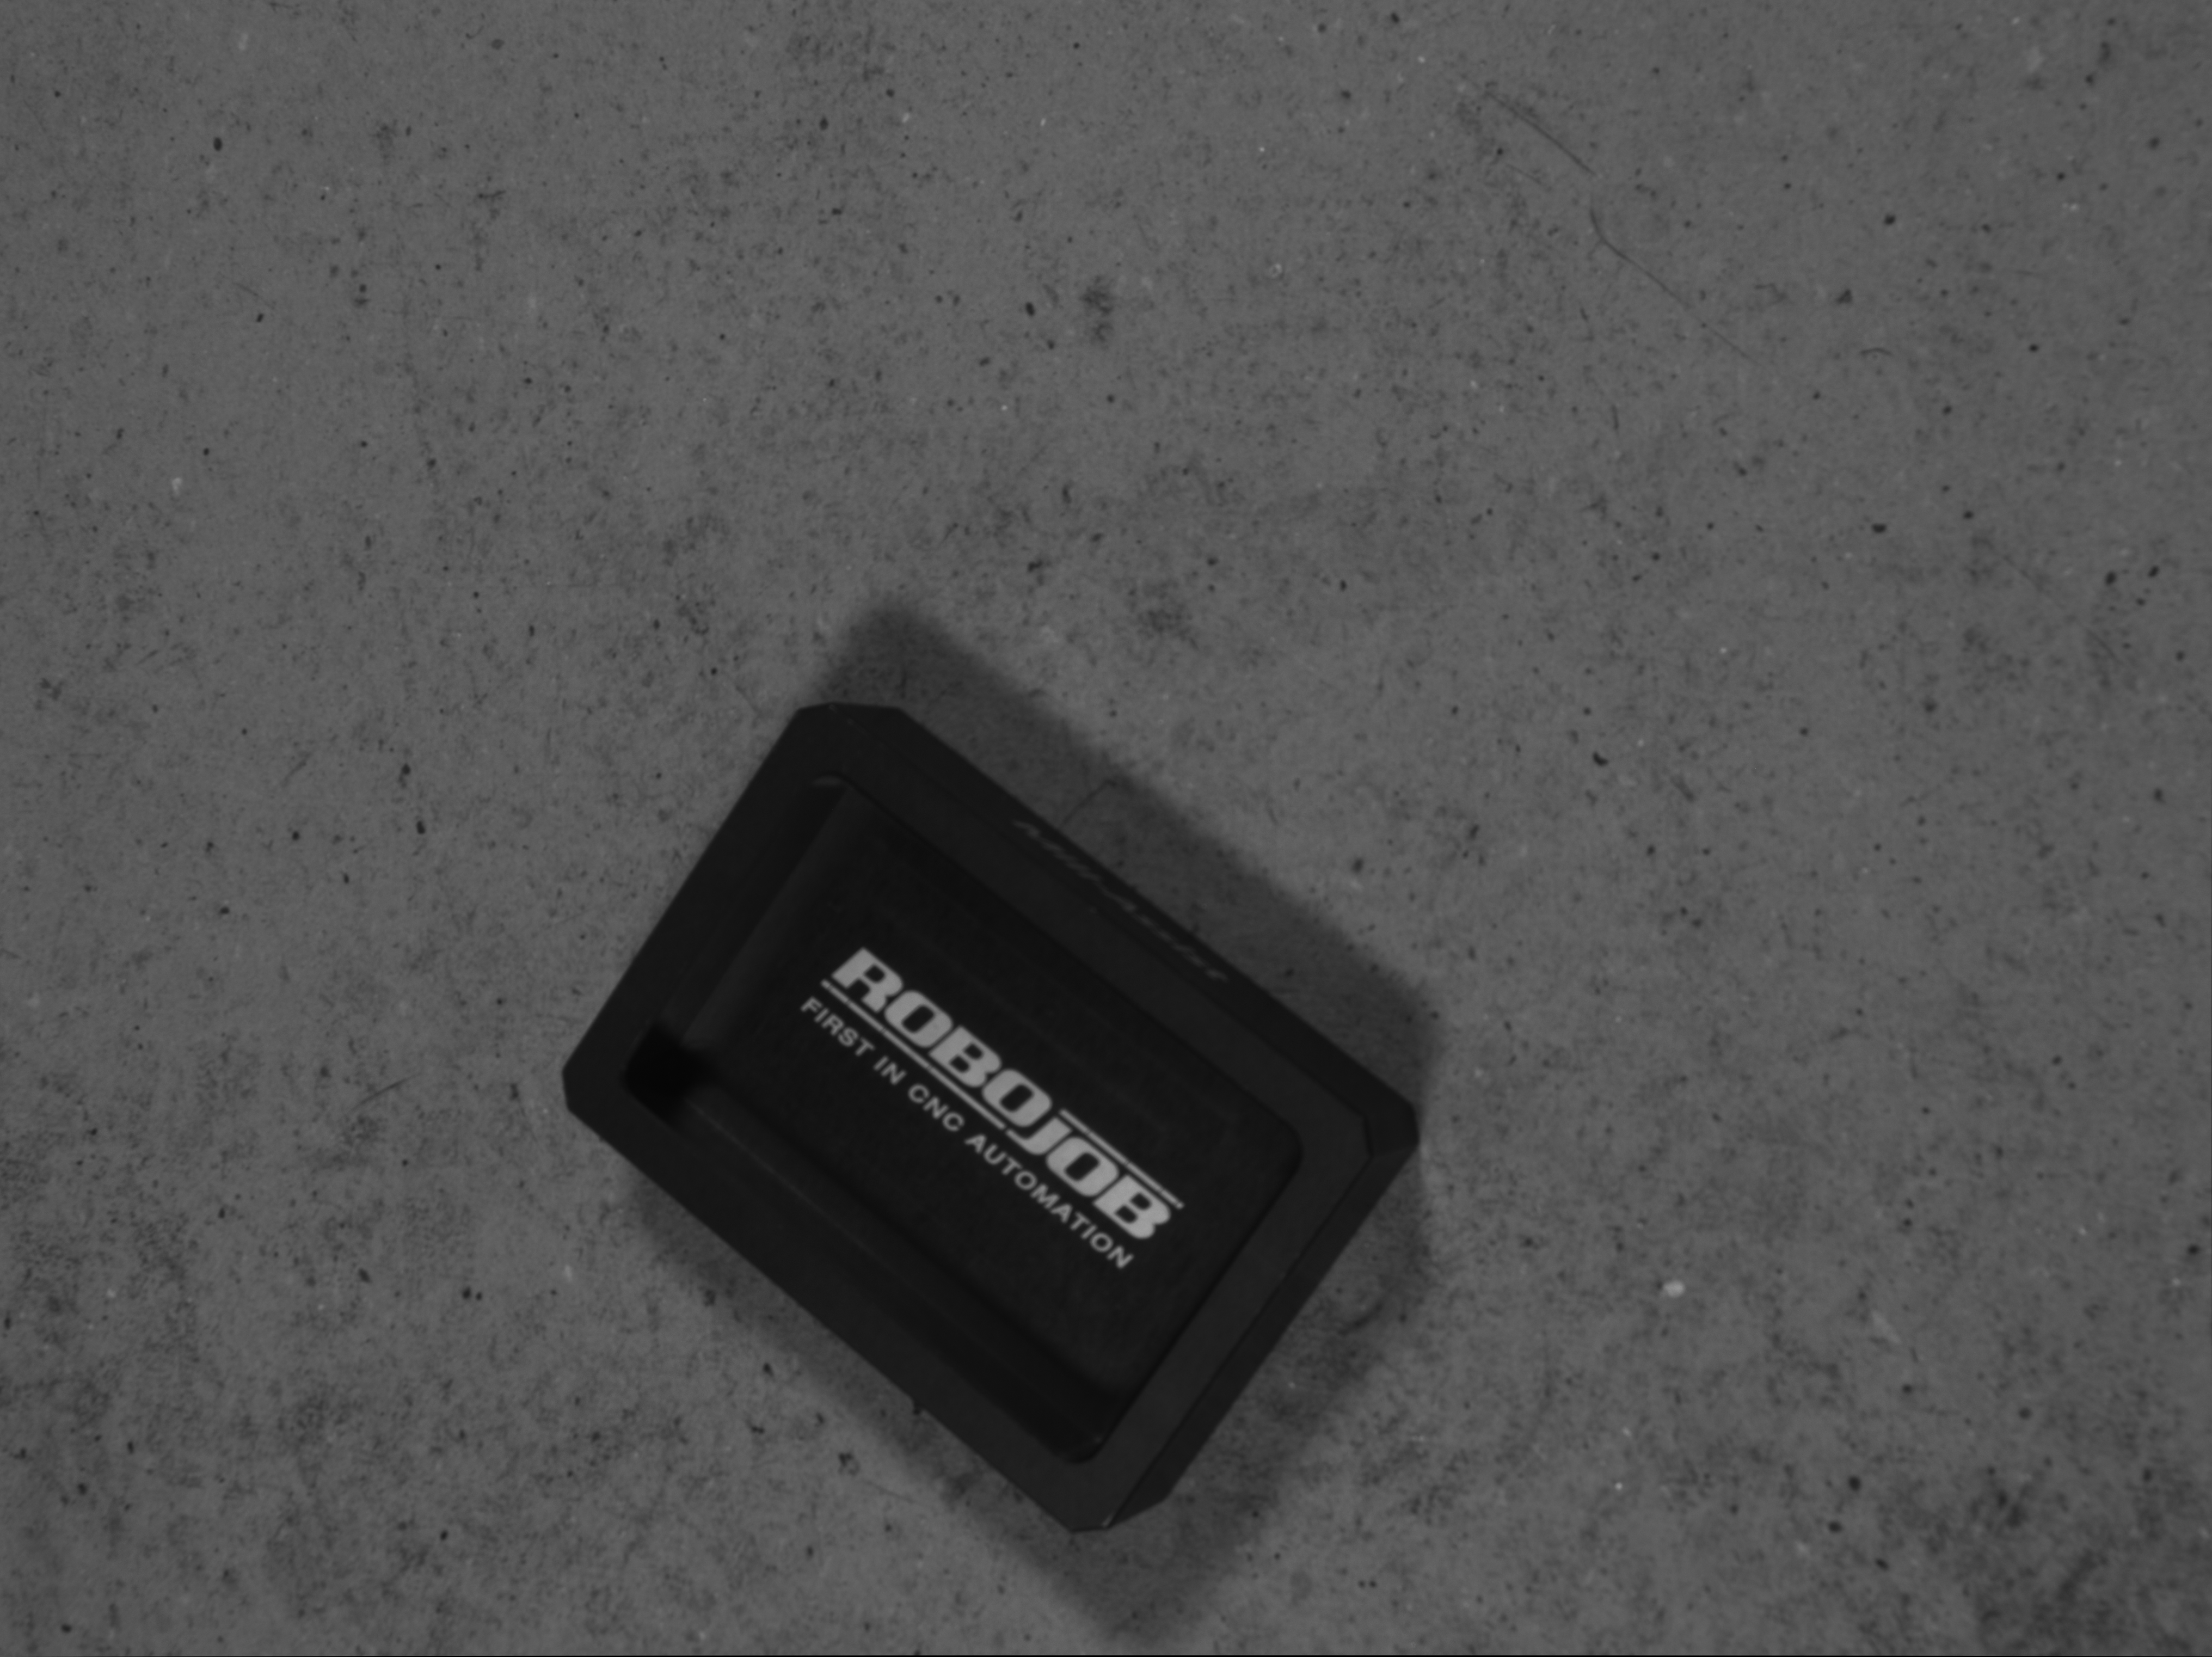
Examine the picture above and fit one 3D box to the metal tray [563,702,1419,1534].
[{"bbox_3d":[-0.022,0.050,0.649,0.130,0.030,0.090,38,102,16],"label":"metal tray"}]
